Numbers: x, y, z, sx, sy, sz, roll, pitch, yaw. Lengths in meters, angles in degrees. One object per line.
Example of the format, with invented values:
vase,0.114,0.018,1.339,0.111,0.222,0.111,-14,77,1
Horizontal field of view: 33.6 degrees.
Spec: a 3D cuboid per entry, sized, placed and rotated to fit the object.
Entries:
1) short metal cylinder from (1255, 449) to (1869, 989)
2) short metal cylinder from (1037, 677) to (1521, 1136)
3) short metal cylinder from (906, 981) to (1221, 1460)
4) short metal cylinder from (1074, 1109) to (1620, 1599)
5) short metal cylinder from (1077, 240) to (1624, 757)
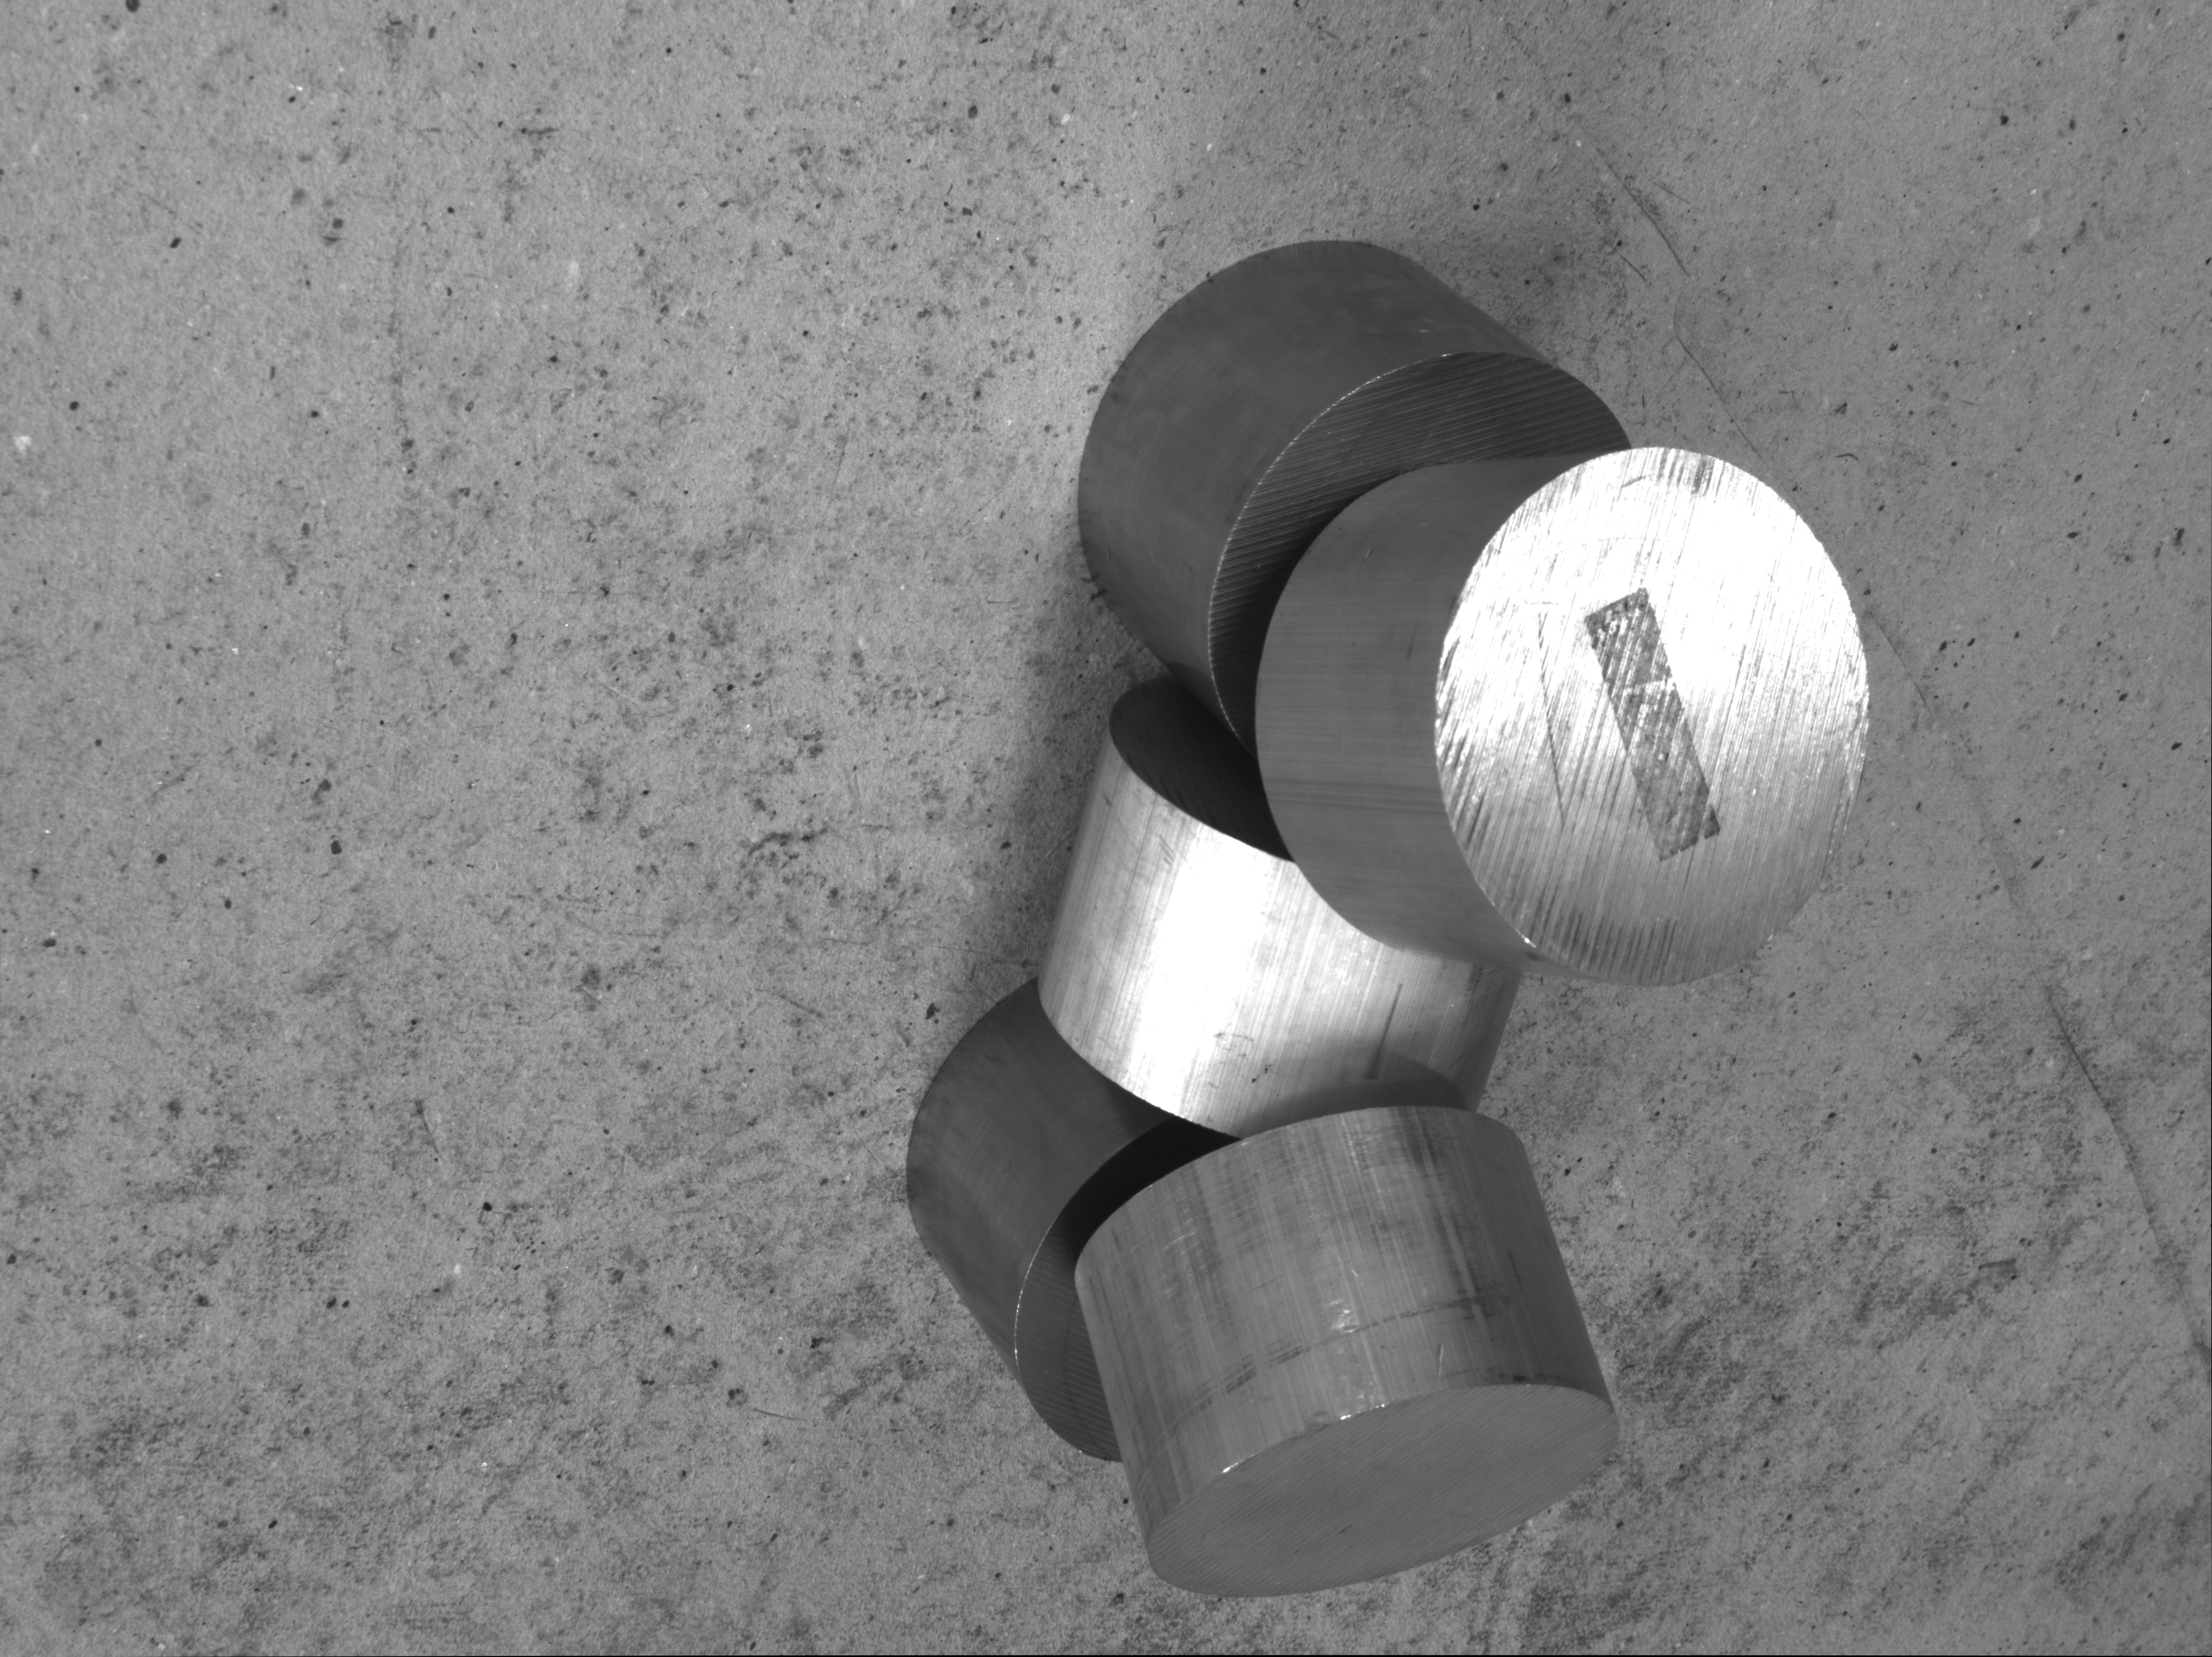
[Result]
short metal cylinder,0.070,-0.017,0.565,0.080,0.050,0.080,-2,94,-29
short metal cylinder,0.033,0.013,0.629,0.080,0.080,0.050,1,117,-29
short metal cylinder,0.010,0.068,0.668,0.080,0.050,0.080,-14,124,-21
short metal cylinder,0.040,0.089,0.611,0.080,0.050,0.080,-12,150,-7
short metal cylinder,0.042,-0.052,0.613,0.080,0.050,0.080,-14,124,-21
